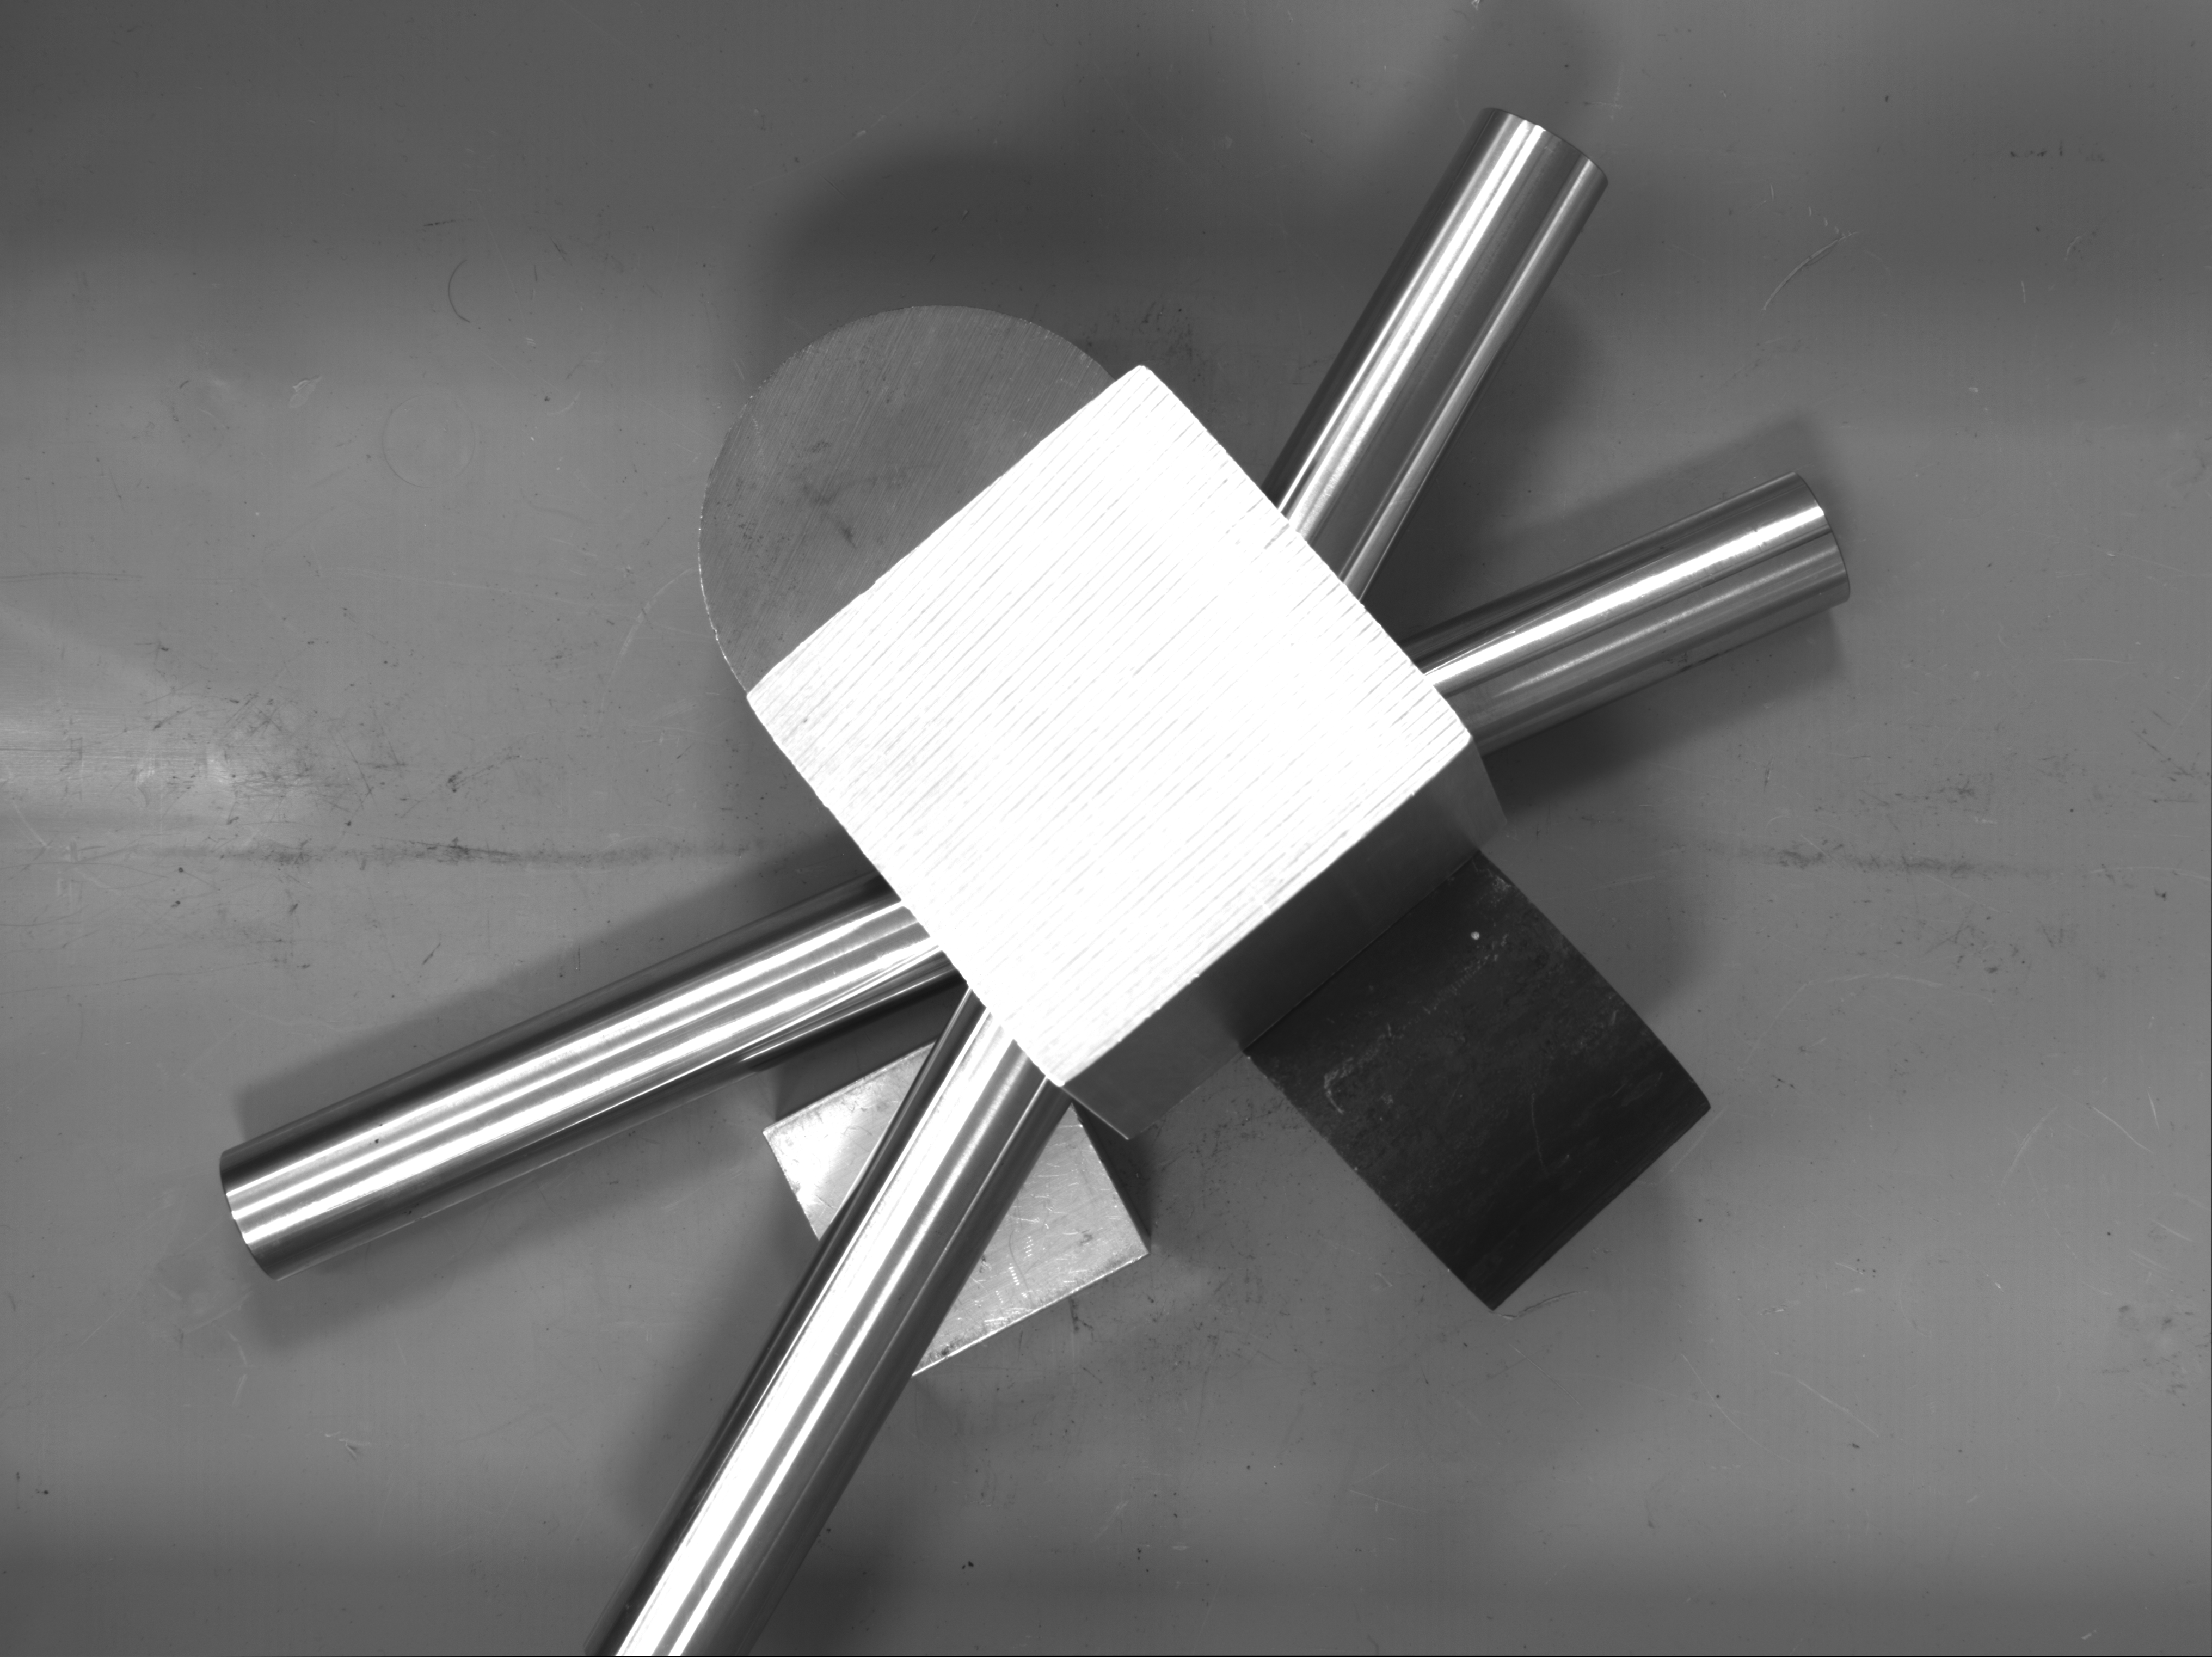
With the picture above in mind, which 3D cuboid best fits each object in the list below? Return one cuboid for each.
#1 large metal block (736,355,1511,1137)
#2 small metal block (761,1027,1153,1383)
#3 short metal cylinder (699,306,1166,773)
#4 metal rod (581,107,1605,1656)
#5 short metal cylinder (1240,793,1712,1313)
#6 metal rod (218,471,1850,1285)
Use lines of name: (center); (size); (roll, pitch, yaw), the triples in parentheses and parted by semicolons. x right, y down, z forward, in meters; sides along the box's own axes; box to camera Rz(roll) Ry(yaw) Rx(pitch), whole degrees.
large metal block: (0.004, -0.011, 0.569); (0.080, 0.050, 0.080); (-40, 72, 1)
small metal block: (-0.026, 0.063, 0.645); (0.050, 0.025, 0.050); (-28, 90, 0)
short metal cylinder: (-0.027, -0.046, 0.632); (0.080, 0.050, 0.080); (0, 90, 0)
metal rod: (-0.002, 0.014, 0.620); (0.025, 0.025, 0.300); (30, 90, 0)
short metal cylinder: (0.056, 0.035, 0.618); (0.050, 0.080, 0.080); (-43, 90, 1)
metal rod: (-0.012, 0.009, 0.645); (0.300, 0.025, 0.025); (-24, 90, 0)
